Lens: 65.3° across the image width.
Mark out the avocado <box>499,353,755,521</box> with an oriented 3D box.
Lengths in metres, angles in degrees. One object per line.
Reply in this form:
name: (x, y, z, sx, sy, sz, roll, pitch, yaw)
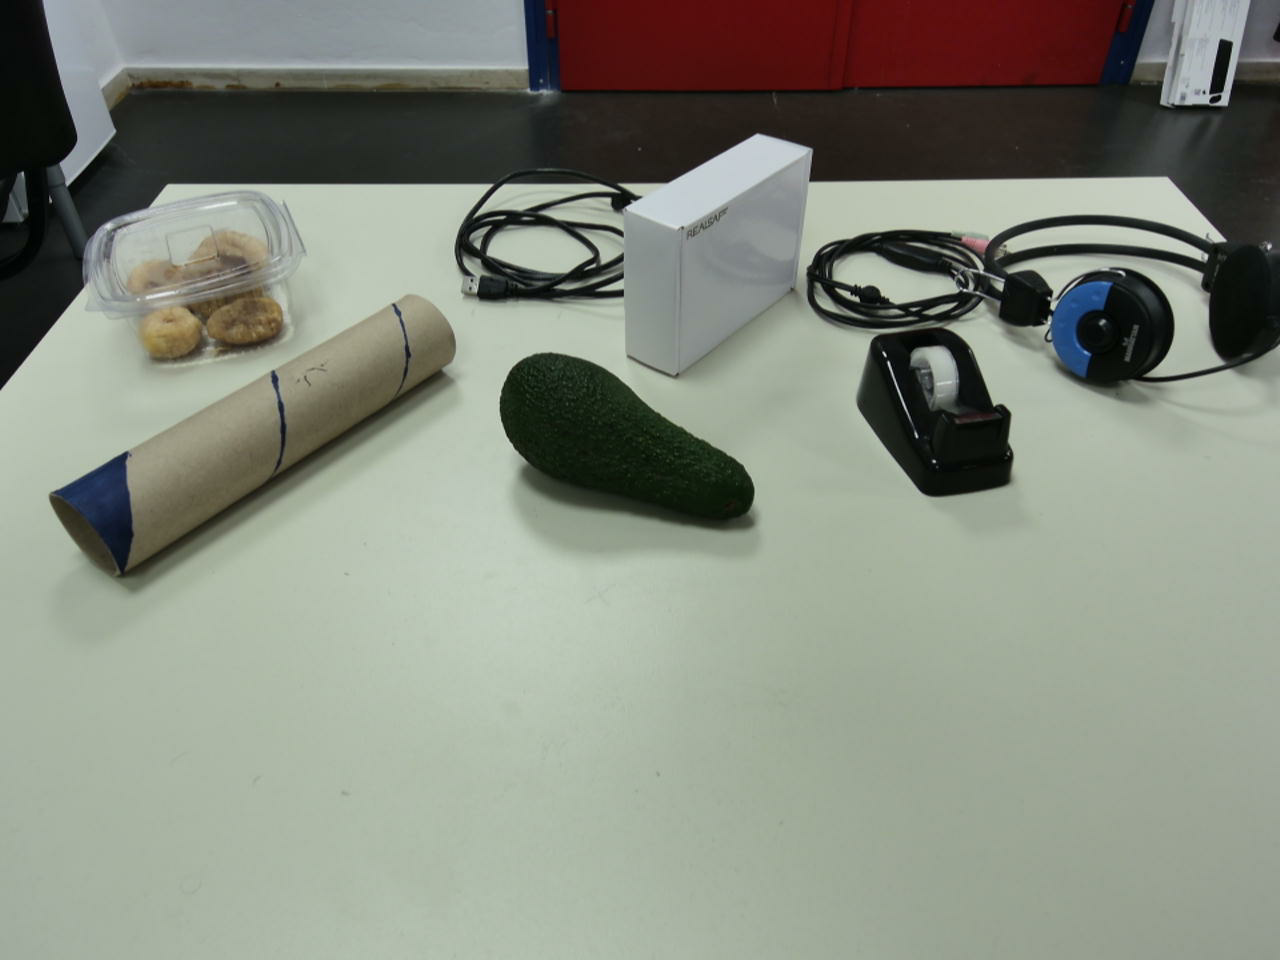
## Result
avocado: (-0.006, -0.027, 0.511, 0.141, 0.067, 0.063, 10, 40, 12)
